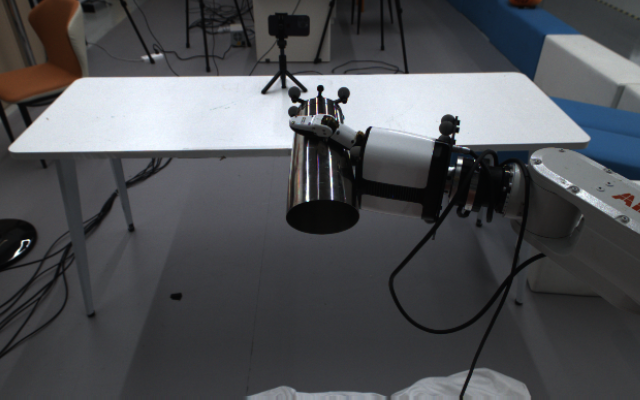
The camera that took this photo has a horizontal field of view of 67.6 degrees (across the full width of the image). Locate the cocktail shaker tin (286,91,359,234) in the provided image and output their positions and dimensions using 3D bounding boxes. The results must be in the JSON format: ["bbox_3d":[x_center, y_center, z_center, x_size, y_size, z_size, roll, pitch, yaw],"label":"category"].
[{"bbox_3d":[0.000,-0.051,0.639,0.093,0.093,0.170,0,59,-3],"label":"cocktail shaker tin"}]
